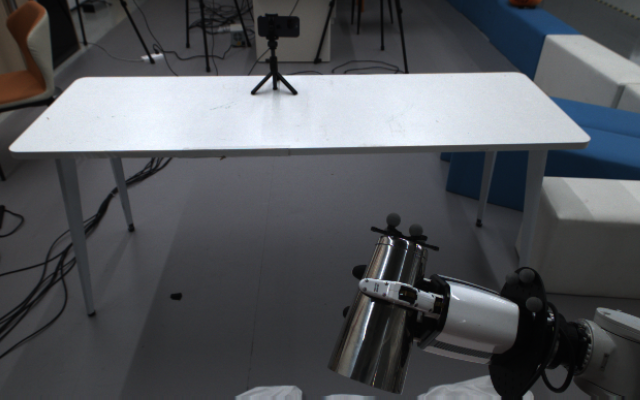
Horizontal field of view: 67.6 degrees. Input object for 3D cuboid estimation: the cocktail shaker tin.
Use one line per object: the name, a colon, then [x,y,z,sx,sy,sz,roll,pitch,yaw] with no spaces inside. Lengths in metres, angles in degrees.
cocktail shaker tin: [0.080,0.135,0.591,0.093,0.093,0.170,14,75,17]
